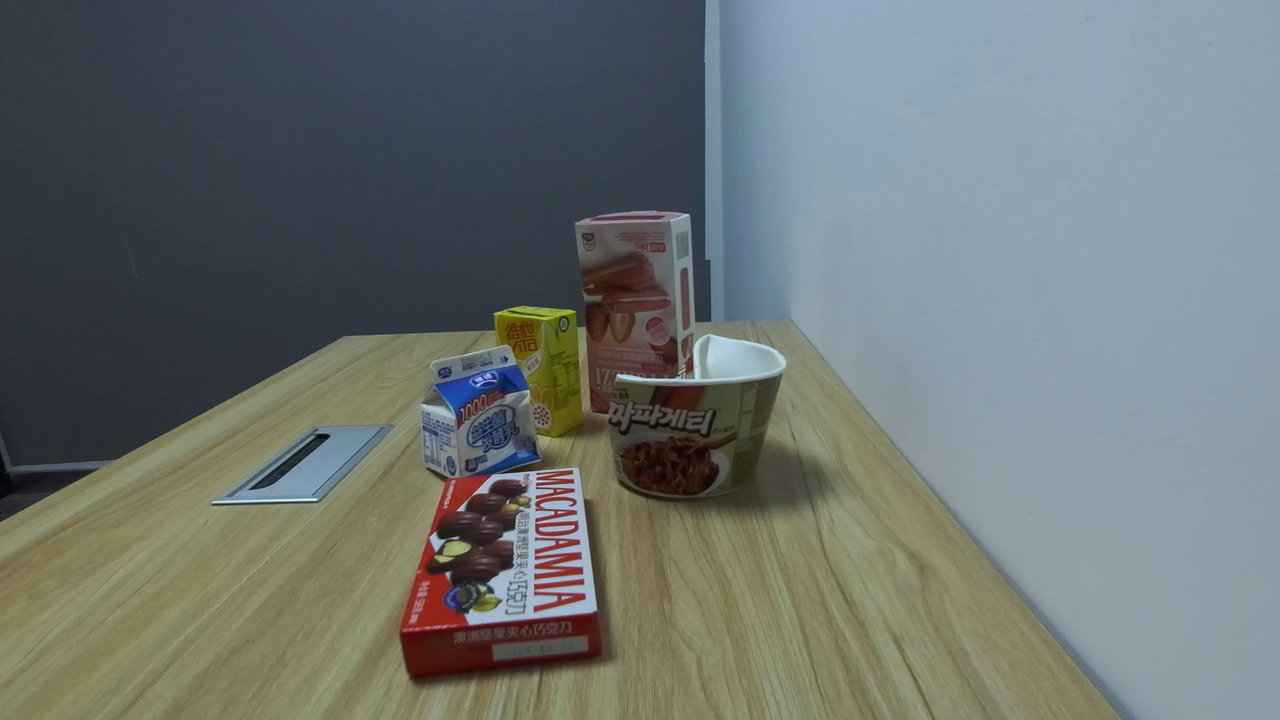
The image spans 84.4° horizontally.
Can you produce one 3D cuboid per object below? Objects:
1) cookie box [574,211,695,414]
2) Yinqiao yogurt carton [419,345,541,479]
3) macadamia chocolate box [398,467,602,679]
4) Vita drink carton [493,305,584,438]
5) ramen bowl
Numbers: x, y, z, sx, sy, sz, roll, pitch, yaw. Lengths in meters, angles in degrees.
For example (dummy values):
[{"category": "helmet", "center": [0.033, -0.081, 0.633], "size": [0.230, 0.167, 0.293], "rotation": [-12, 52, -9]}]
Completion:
[{"category": "cookie box", "center": [-0.005, -0.041, 0.657], "size": [0.105, 0.187, 0.049], "rotation": [4, 17, 25]}, {"category": "Yinqiao yogurt carton", "center": [-0.129, 0.041, 0.565], "size": [0.078, 0.094, 0.070], "rotation": [-13, 14, -36]}, {"category": "macadamia chocolate box", "center": [-0.077, 0.114, 0.419], "size": [0.096, 0.027, 0.177], "rotation": [-4, 15, -7]}, {"category": "Vita drink carton", "center": [-0.091, 0.009, 0.645], "size": [0.066, 0.109, 0.044], "rotation": [9, 19, 35]}, {"category": "ramen bowl", "center": [0.038, 0.042, 0.525], "size": [0.137, 0.098, 0.137], "rotation": [-4, 18, 2]}]
